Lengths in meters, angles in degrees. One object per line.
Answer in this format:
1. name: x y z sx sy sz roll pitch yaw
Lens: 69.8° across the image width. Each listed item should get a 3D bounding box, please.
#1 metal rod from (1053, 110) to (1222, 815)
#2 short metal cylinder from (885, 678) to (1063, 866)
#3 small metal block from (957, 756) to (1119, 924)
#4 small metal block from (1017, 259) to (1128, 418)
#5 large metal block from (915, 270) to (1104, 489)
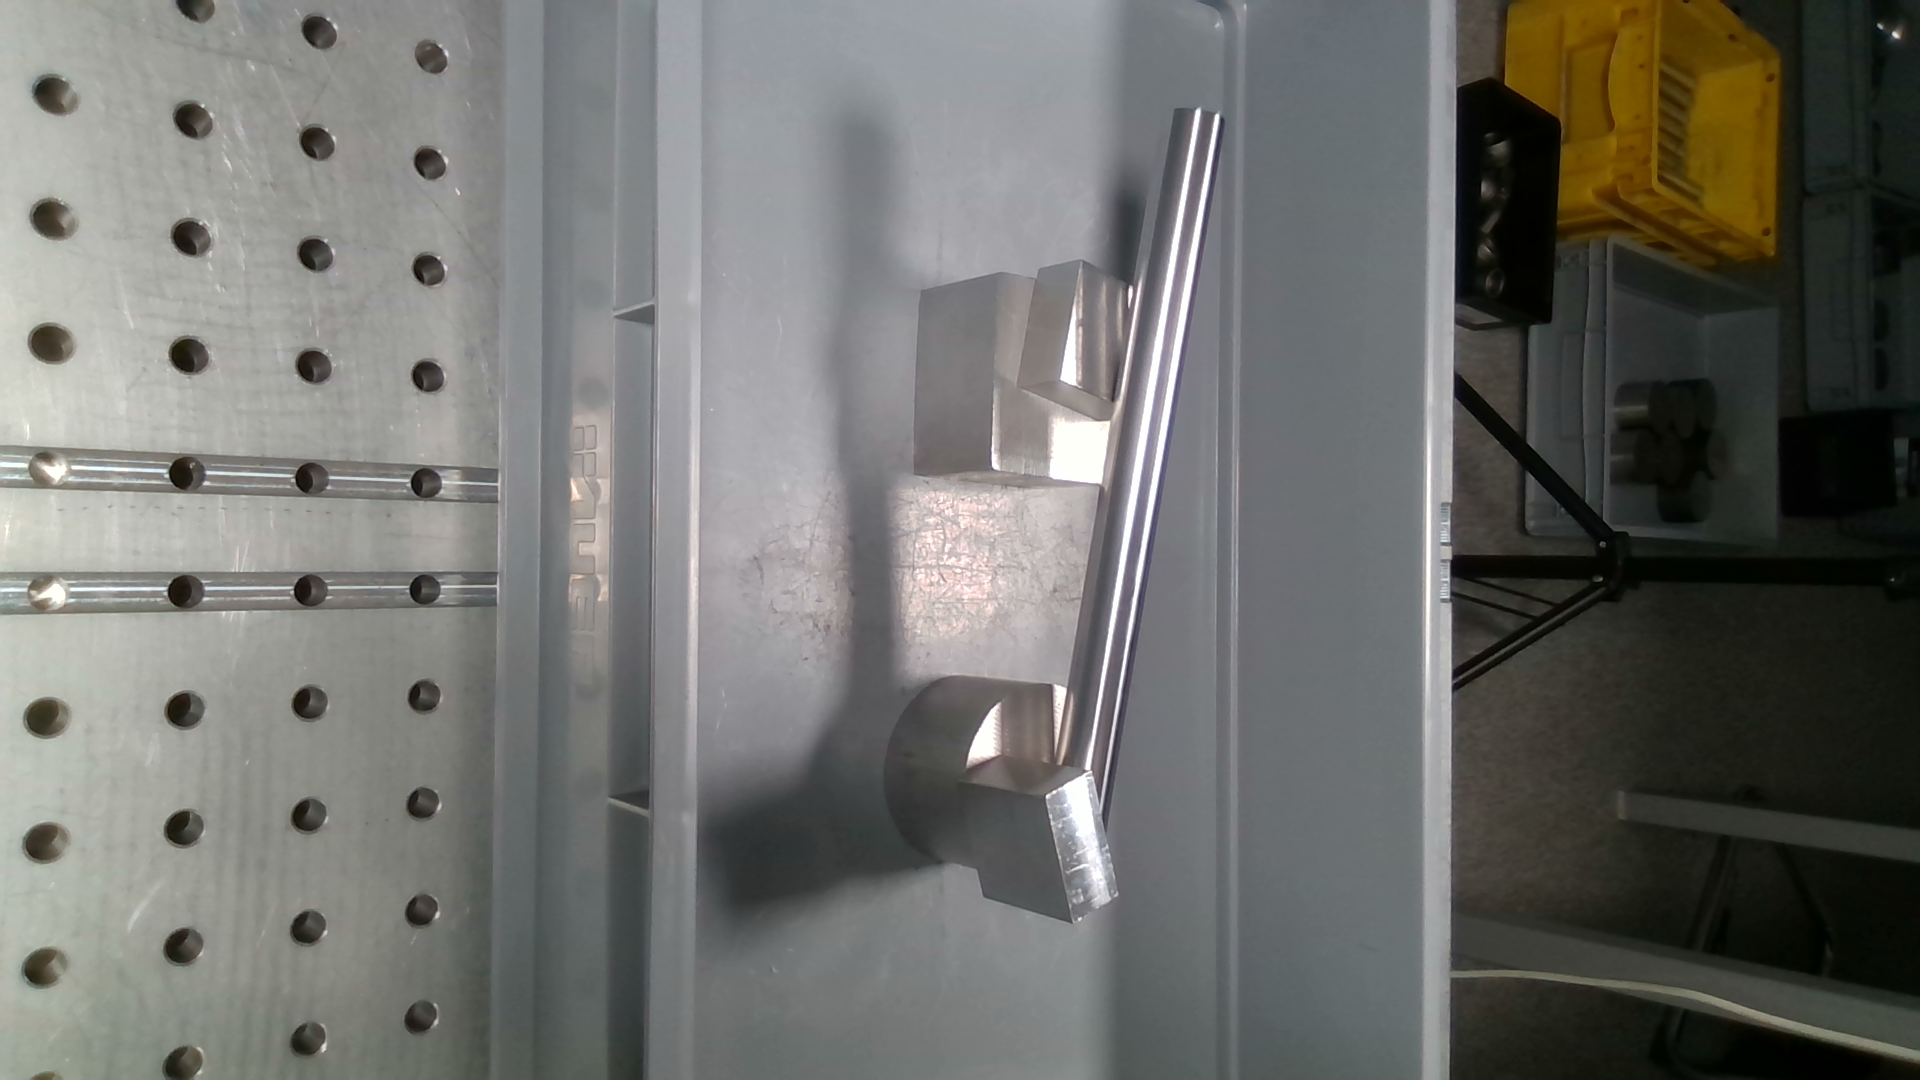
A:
1. metal rod: 0.067 -0.017 0.546 0.025 0.025 0.300 7 93 -40
2. short metal cylinder: 0.015 0.098 0.578 0.080 0.050 0.080 0 90 -40
3. small metal block: 0.029 0.112 0.523 0.025 0.050 0.050 -19 102 -39
4. small metal block: 0.054 -0.080 0.561 0.050 0.025 0.050 17 79 -39
5. large metal block: 0.029 -0.065 0.588 0.080 0.050 0.080 3 88 -40
